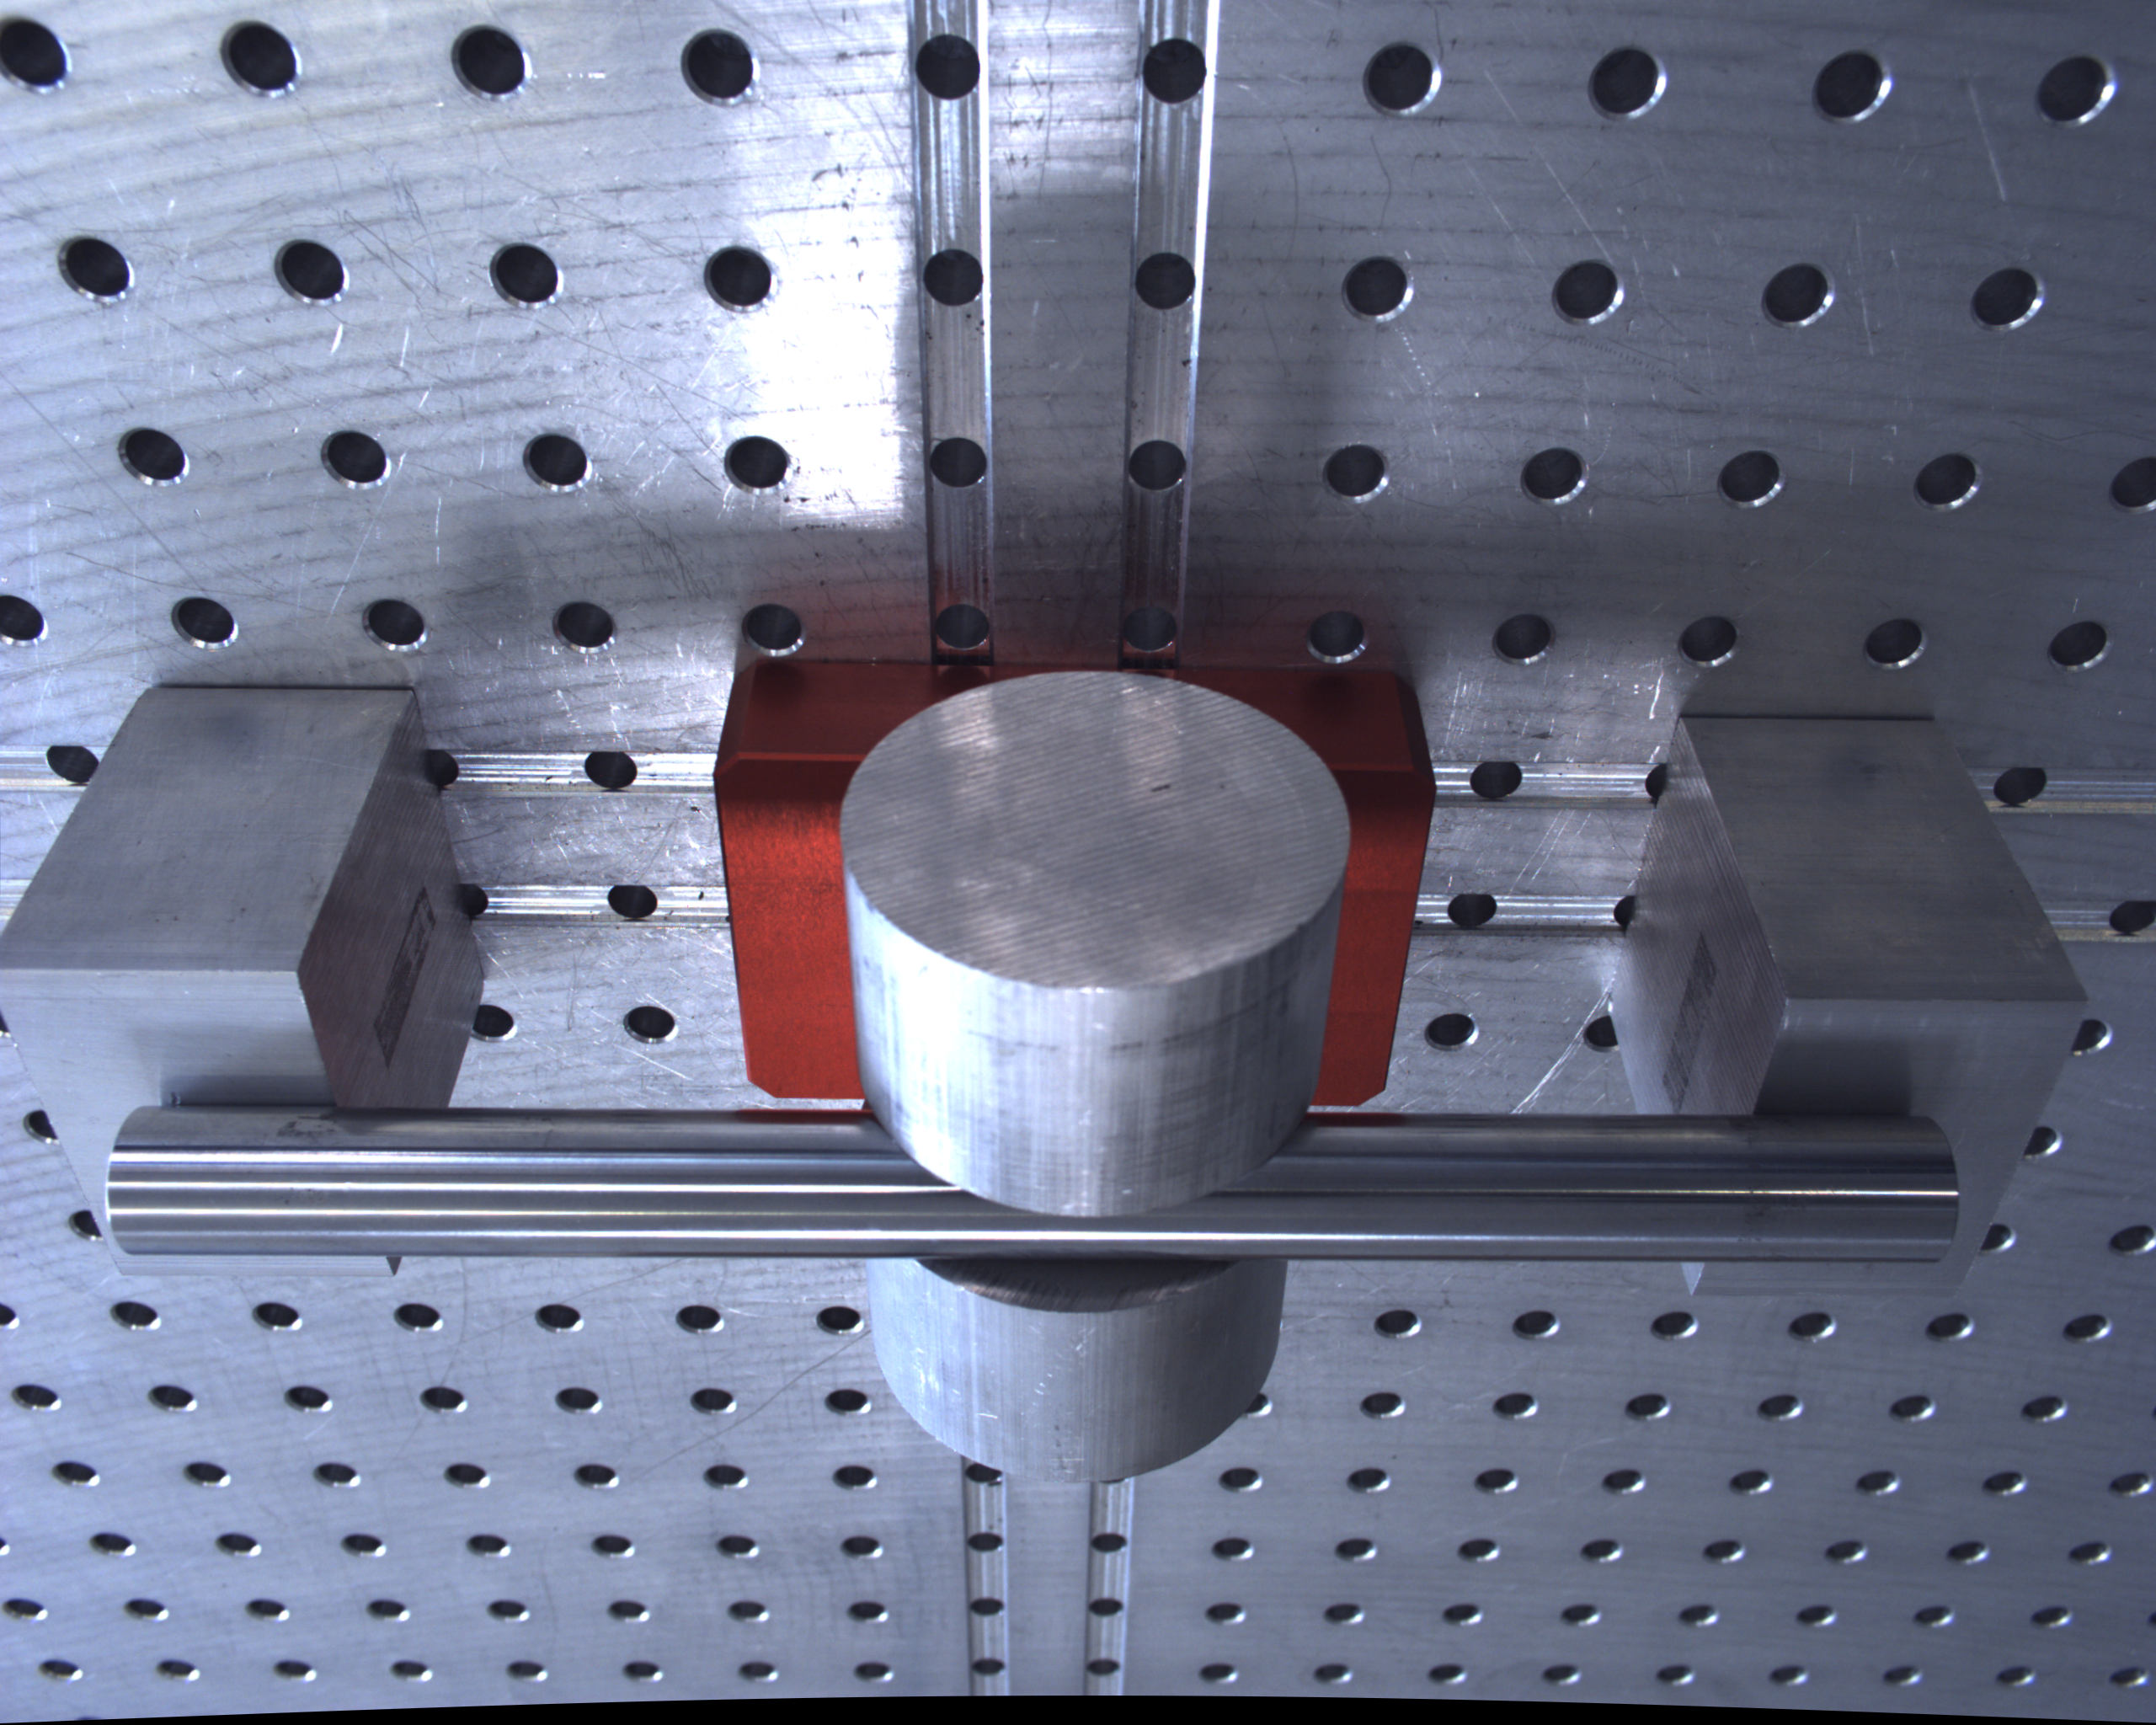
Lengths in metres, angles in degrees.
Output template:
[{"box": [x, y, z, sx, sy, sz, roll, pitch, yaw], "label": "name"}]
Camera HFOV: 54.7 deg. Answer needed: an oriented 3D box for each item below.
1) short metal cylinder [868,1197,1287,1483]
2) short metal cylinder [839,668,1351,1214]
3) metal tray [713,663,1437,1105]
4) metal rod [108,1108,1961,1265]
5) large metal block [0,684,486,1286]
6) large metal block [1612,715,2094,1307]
[{"box": [0.000, 0.068, 0.394, 0.081, 0.080, 0.050, 1, 130, -1], "label": "short metal cylinder"}, {"box": [0.002, 0.011, 0.346, 0.081, 0.080, 0.050, 1, 130, -1], "label": "short metal cylinder"}, {"box": [-0.001, 0.006, 0.413, 0.131, 0.030, 0.089, 1, 130, -1], "label": "metal tray"}, {"box": [-0.006, 0.055, 0.352, 0.302, 0.025, 0.025, 0, 130, -1], "label": "metal rod"}, {"box": [-0.152, 0.022, 0.391, 0.050, 0.080, 0.079, 1, 130, -1], "label": "large metal block"}, {"box": [0.141, 0.028, 0.399, 0.050, 0.080, 0.079, 1, 130, -1], "label": "large metal block"}]
